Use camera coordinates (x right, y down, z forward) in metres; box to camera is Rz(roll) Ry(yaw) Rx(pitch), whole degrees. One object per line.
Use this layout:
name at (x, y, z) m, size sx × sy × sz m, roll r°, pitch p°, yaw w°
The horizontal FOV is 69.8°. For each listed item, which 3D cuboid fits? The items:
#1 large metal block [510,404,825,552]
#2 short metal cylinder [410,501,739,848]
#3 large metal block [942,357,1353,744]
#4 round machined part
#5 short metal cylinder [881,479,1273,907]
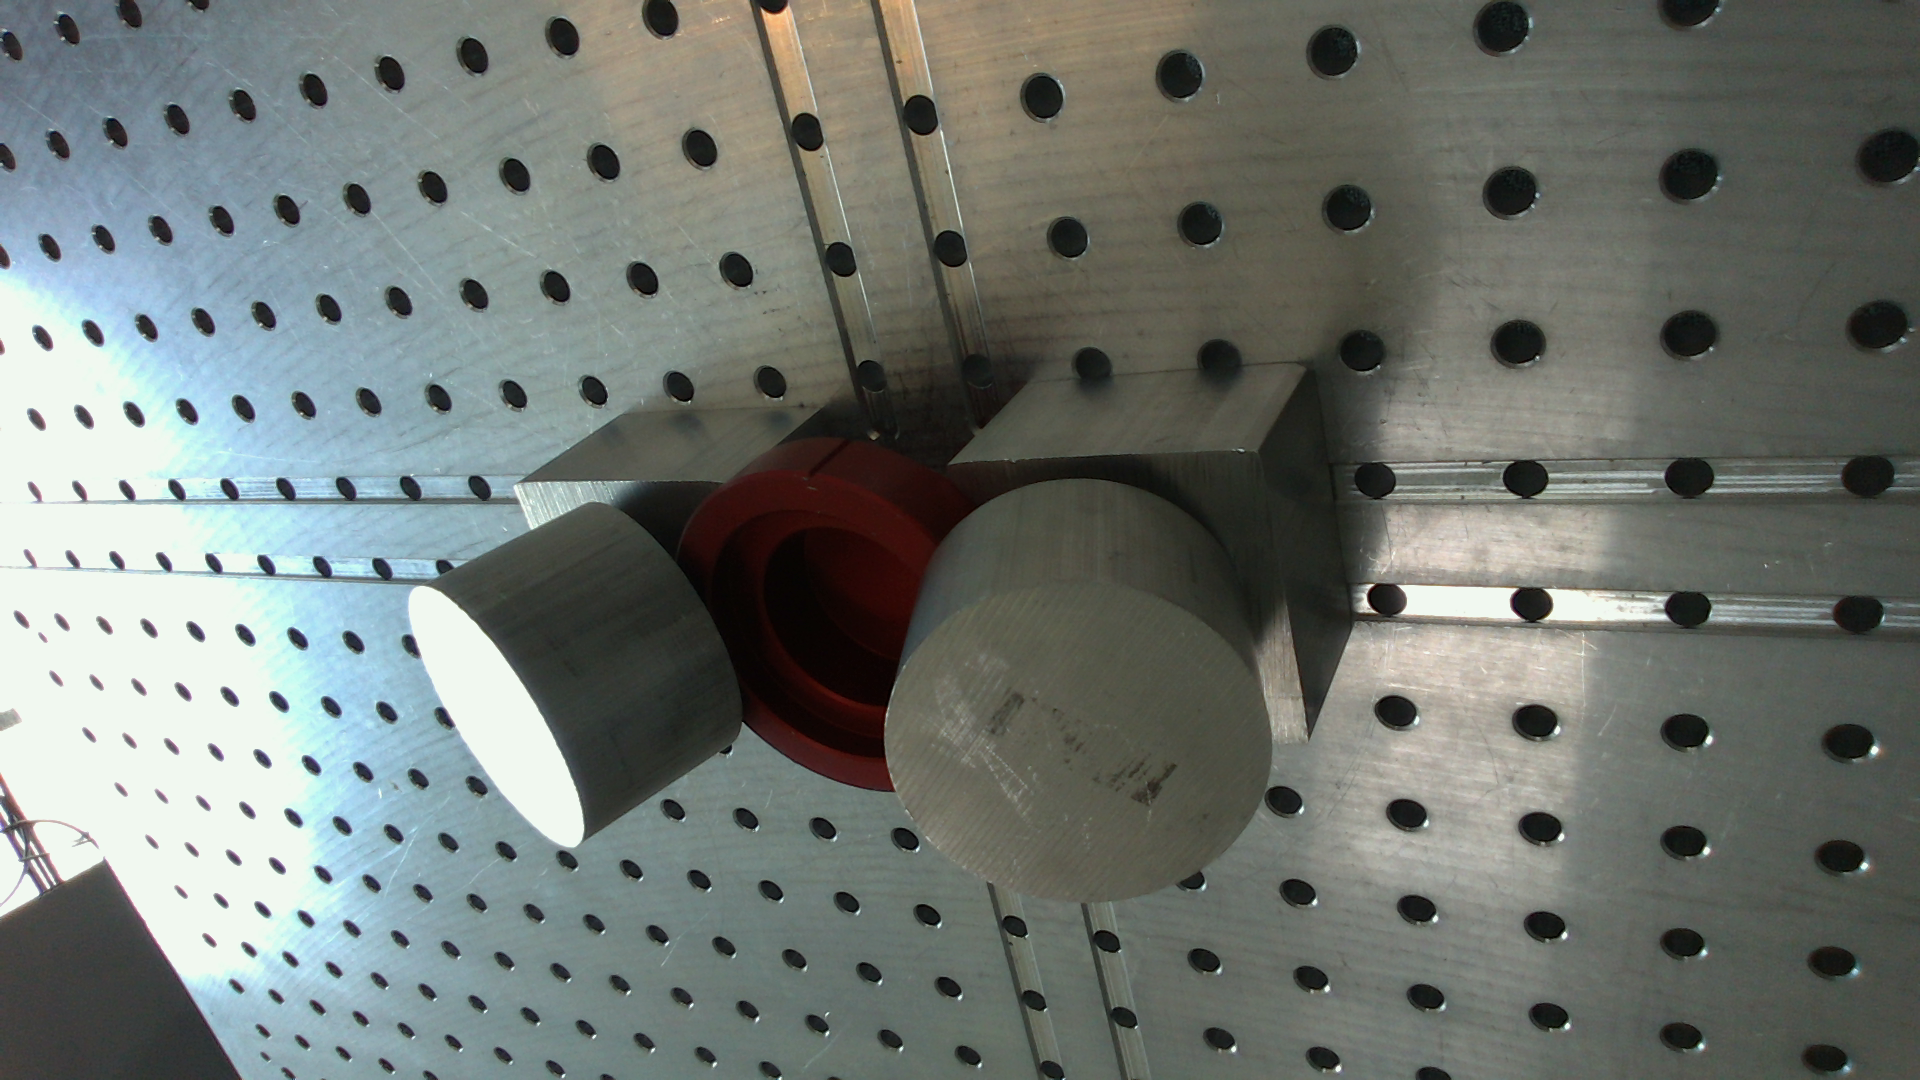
large metal block at (-0.079, 0.006, 0.426) m, size 0.080 × 0.050 × 0.080 m, roll 1°, pitch 119°, yaw 28°
short metal cylinder at (-0.106, 0.036, 0.377) m, size 0.080 × 0.050 × 0.080 m, roll 33°, pitch 140°, yaw 33°
large metal block at (0.051, 0.003, 0.354) m, size 0.080 × 0.050 × 0.080 m, roll -1°, pitch 118°, yaw 29°
round machined part at (-0.025, 0.016, 0.370) m, size 0.098 × 0.042 × 0.098 m, roll 13°, pitch 124°, yaw 21°
short metal cylinder at (0.026, 0.033, 0.305) m, size 0.080 × 0.050 × 0.080 m, roll 2°, pitch 116°, yaw 5°
